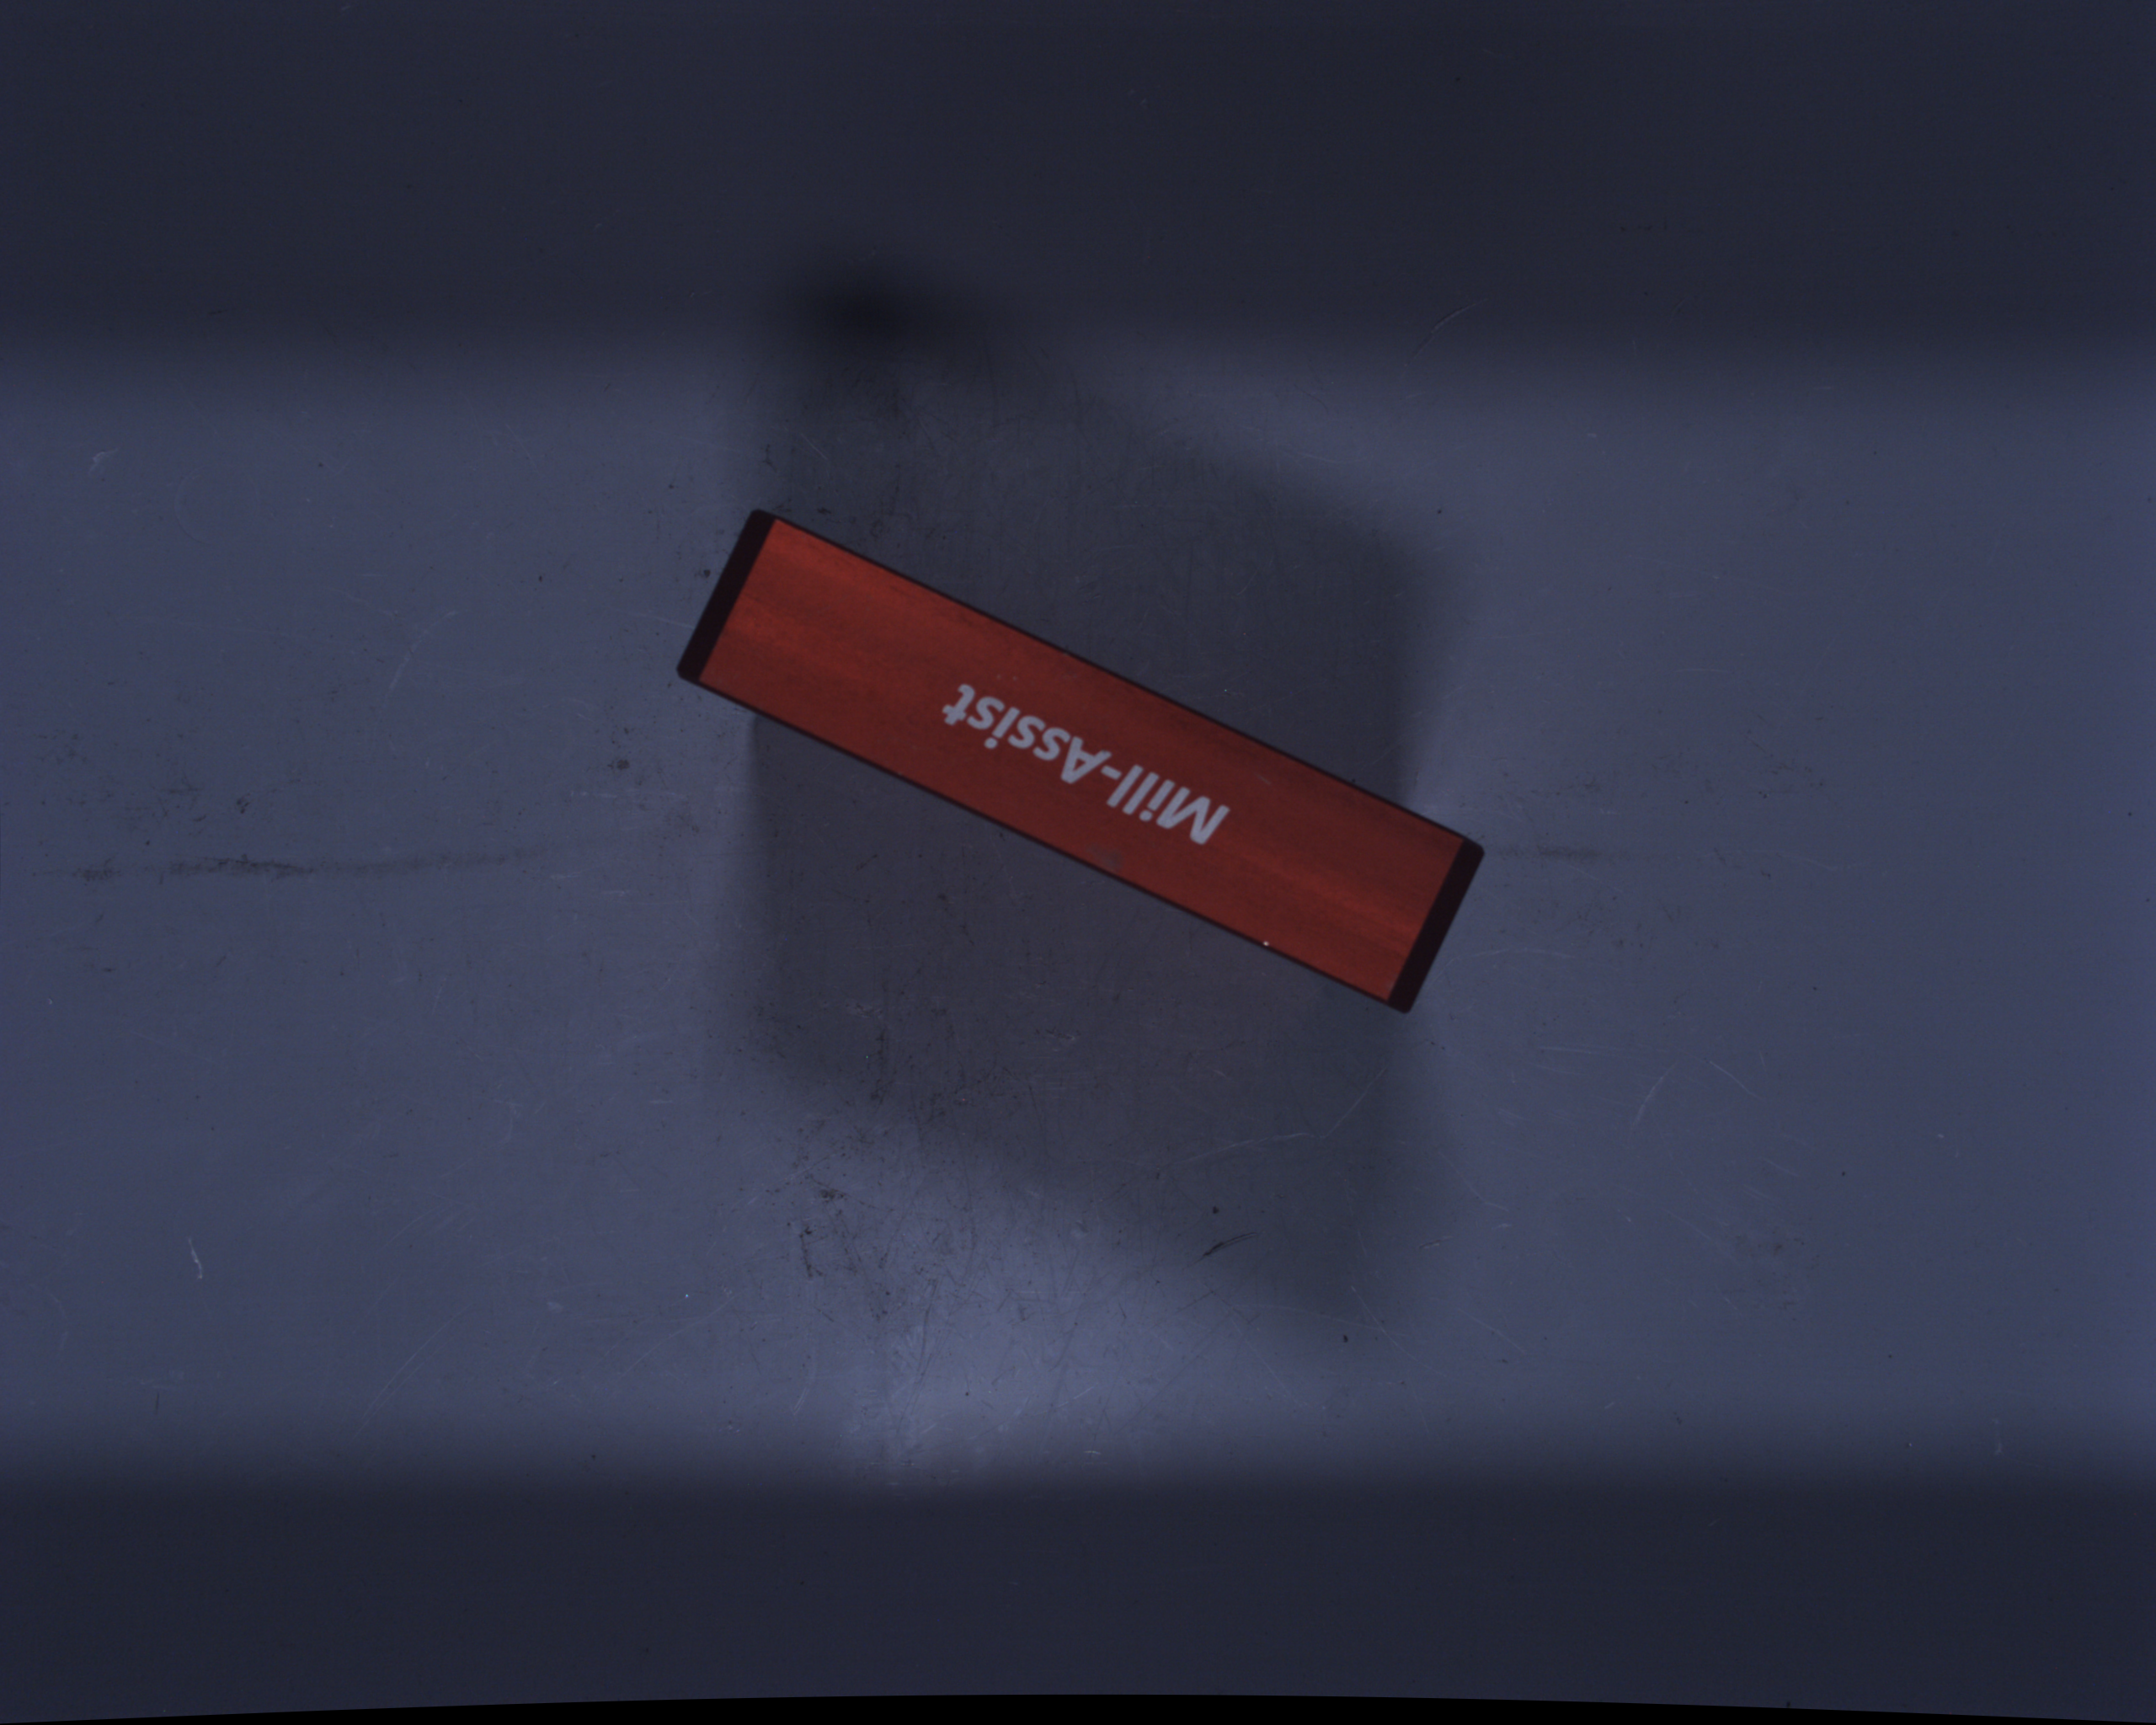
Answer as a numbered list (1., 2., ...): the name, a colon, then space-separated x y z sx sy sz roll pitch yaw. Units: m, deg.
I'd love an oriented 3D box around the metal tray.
1. metal tray: 0.000 -0.016 0.375 0.131 0.090 0.030 25 90 -1
